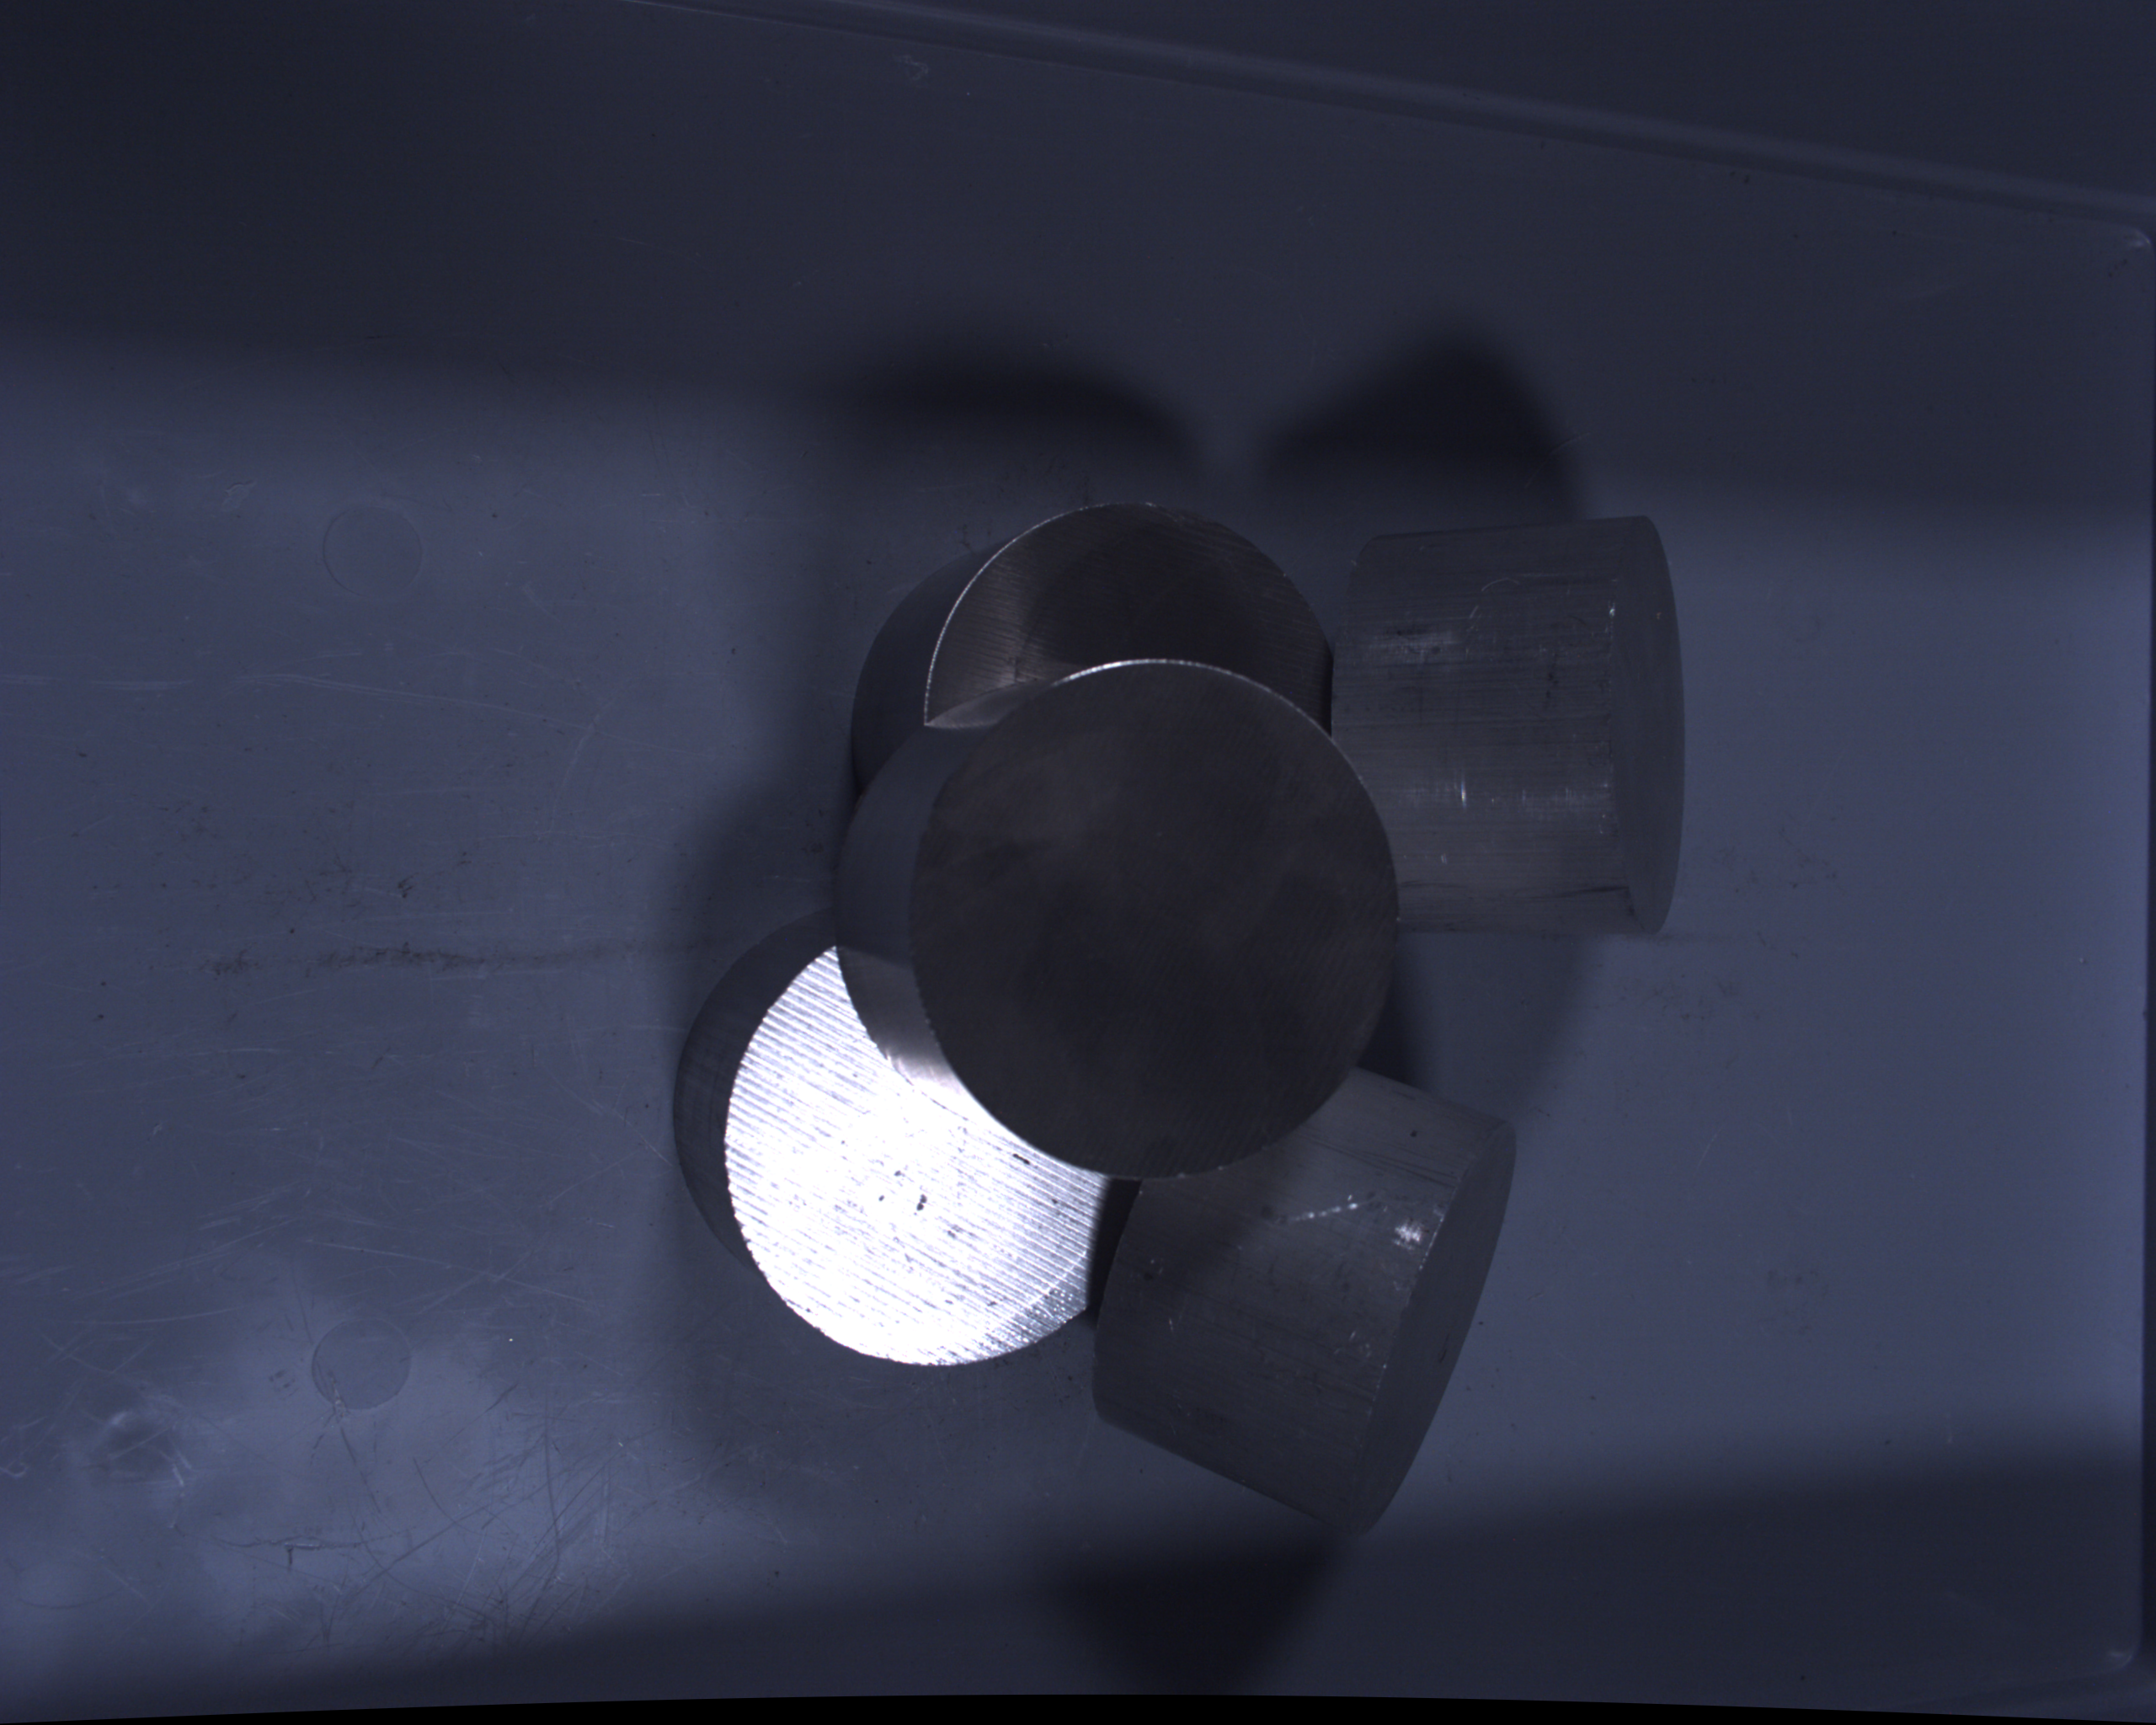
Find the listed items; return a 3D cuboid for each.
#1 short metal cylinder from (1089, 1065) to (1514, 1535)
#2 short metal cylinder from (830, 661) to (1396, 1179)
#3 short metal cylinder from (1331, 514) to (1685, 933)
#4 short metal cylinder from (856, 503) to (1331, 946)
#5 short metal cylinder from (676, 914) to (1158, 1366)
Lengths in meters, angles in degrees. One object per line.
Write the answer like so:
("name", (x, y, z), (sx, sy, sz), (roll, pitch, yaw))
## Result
("short metal cylinder", (0.043, 0.077, 0.390), (0.050, 0.080, 0.080), (19, 82, 22))
("short metal cylinder", (0.005, 0.009, 0.344), (0.081, 0.050, 0.079), (0, 90, -21))
("short metal cylinder", (0.086, -0.026, 0.407), (0.080, 0.050, 0.079), (-2, 90, -64))
("short metal cylinder", (0.003, -0.025, 0.397), (0.081, 0.050, 0.079), (0, 90, -21))
("short metal cylinder", (-0.030, 0.048, 0.386), (0.081, 0.050, 0.079), (0, 90, -21))
